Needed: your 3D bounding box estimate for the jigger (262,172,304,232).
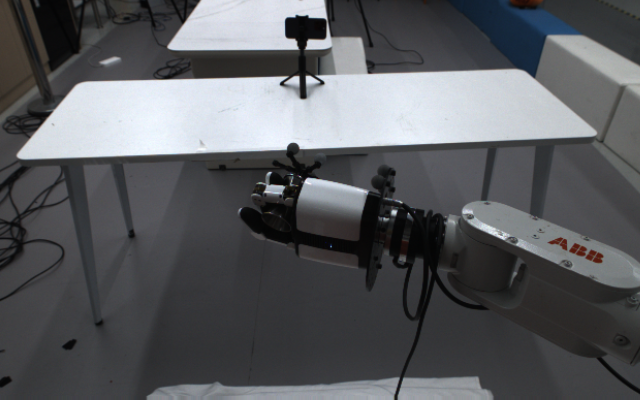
[{"bbox_3d":[-0.043,0.001,0.647,0.043,0.043,0.071,15,58,18],"label":"jigger"}]
